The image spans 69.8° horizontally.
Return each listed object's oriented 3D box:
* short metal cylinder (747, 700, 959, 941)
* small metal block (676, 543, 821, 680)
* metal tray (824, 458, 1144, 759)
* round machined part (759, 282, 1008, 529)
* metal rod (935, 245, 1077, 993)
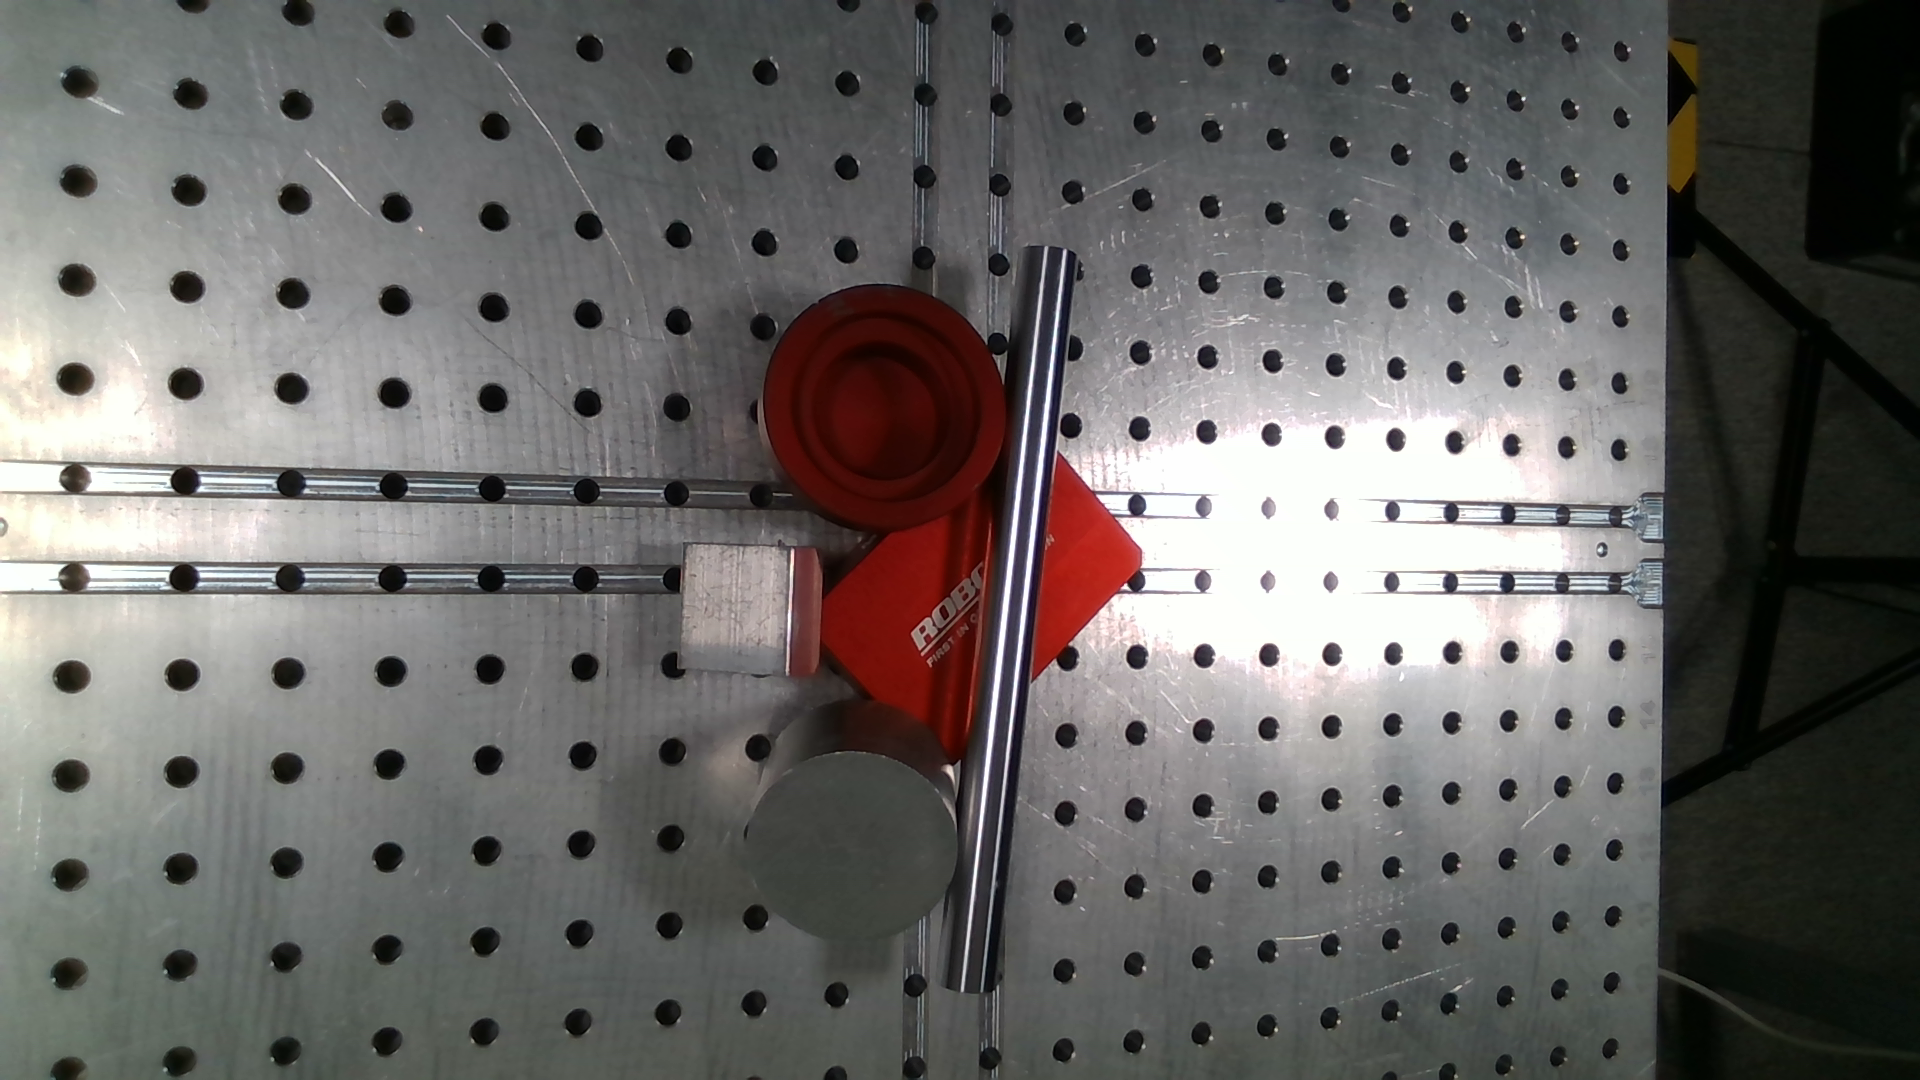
[{"bbox_3d":[-0.041,0.110,0.544,0.080,0.050,0.080,0,107,-1],"label":"short metal cylinder"},{"bbox_3d":[-0.083,0.027,0.543,0.050,0.025,0.050,2,90,23],"label":"small metal block"},{"bbox_3d":[0.005,0.021,0.589,0.130,0.030,0.090,-45,104,-14],"label":"metal tray"},{"bbox_3d":[-0.033,-0.052,0.562,0.098,0.042,0.098,1,85,-14],"label":"round machined part"},{"bbox_3d":[0.019,0.031,0.562,0.025,0.025,0.300,7,88,-20],"label":"metal rod"}]
